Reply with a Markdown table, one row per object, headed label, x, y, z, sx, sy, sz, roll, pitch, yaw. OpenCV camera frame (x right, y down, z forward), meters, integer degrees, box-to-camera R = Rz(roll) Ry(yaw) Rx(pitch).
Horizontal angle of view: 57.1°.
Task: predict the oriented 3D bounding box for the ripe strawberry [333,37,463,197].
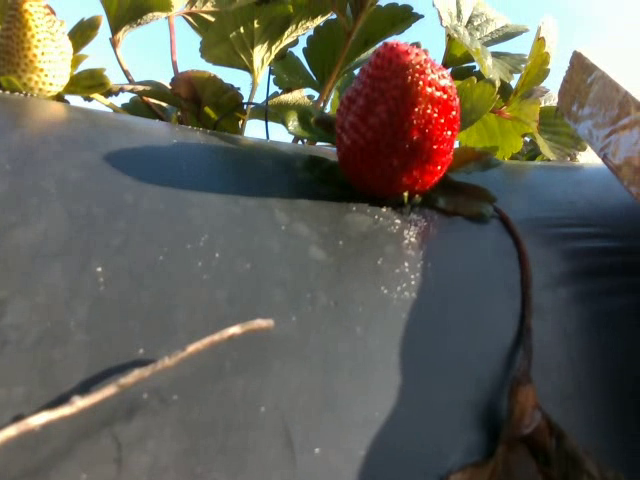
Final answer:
| label | x | y | z | sx | sy | sz | roll | pitch | yaw |
| --- | --- | --- | --- | --- | --- | --- | --- | --- | --- |
| ripe strawberry | 0.007 | -0.012 | 0.055 | 0.015 | 0.015 | 0.023 | 12 | -18 | 2 |
